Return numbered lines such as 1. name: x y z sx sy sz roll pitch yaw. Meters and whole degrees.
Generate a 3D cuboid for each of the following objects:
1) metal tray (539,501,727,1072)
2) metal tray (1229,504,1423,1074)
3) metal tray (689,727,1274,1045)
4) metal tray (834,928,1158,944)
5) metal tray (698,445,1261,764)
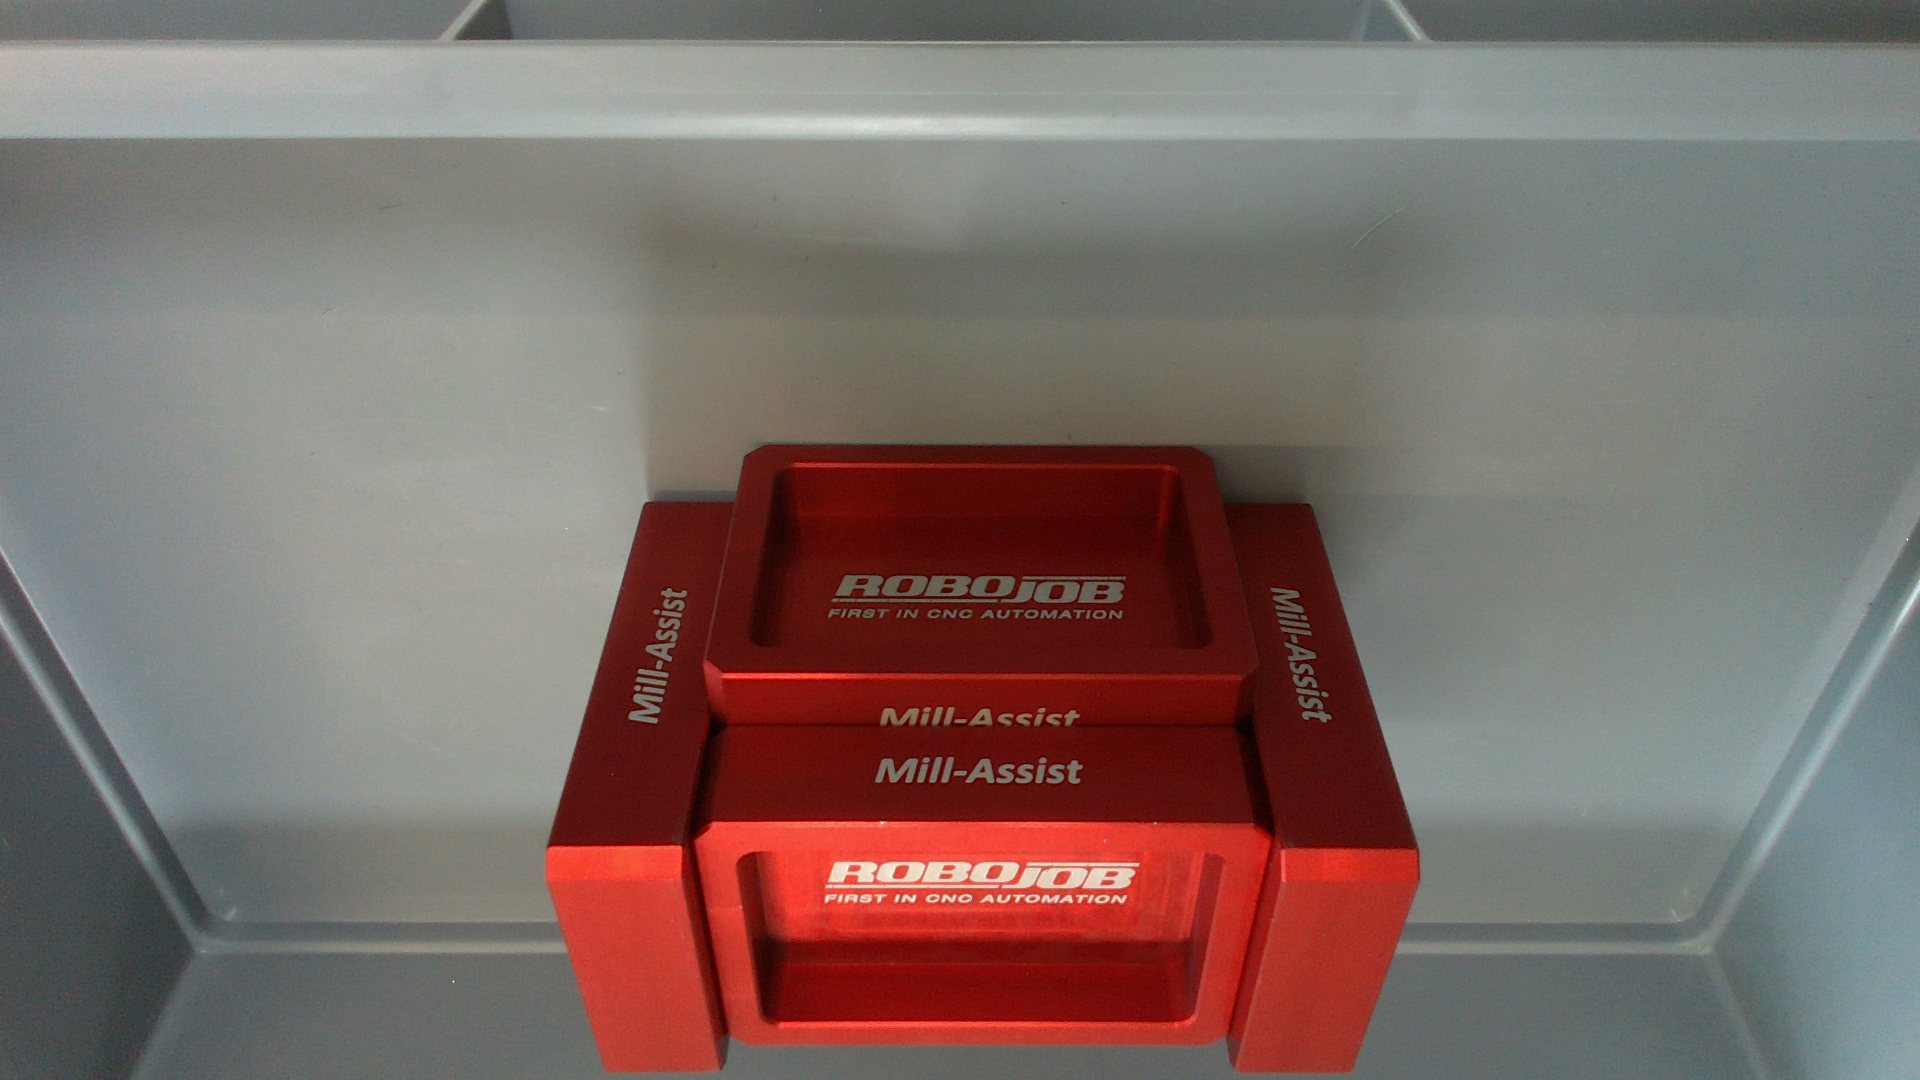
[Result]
1. metal tray: -0.076 0.062 0.372 0.030 0.130 0.090 0 131 0
2. metal tray: 0.085 0.063 0.373 0.030 0.130 0.090 1 131 0
3. metal tray: 0.005 0.088 0.342 0.130 0.030 0.090 0 130 -1
4. metal tray: 0.004 0.083 0.415 0.130 0.090 0.030 0 130 0
5. metal tray: 0.005 0.014 0.357 0.130 0.090 0.030 0 131 0
